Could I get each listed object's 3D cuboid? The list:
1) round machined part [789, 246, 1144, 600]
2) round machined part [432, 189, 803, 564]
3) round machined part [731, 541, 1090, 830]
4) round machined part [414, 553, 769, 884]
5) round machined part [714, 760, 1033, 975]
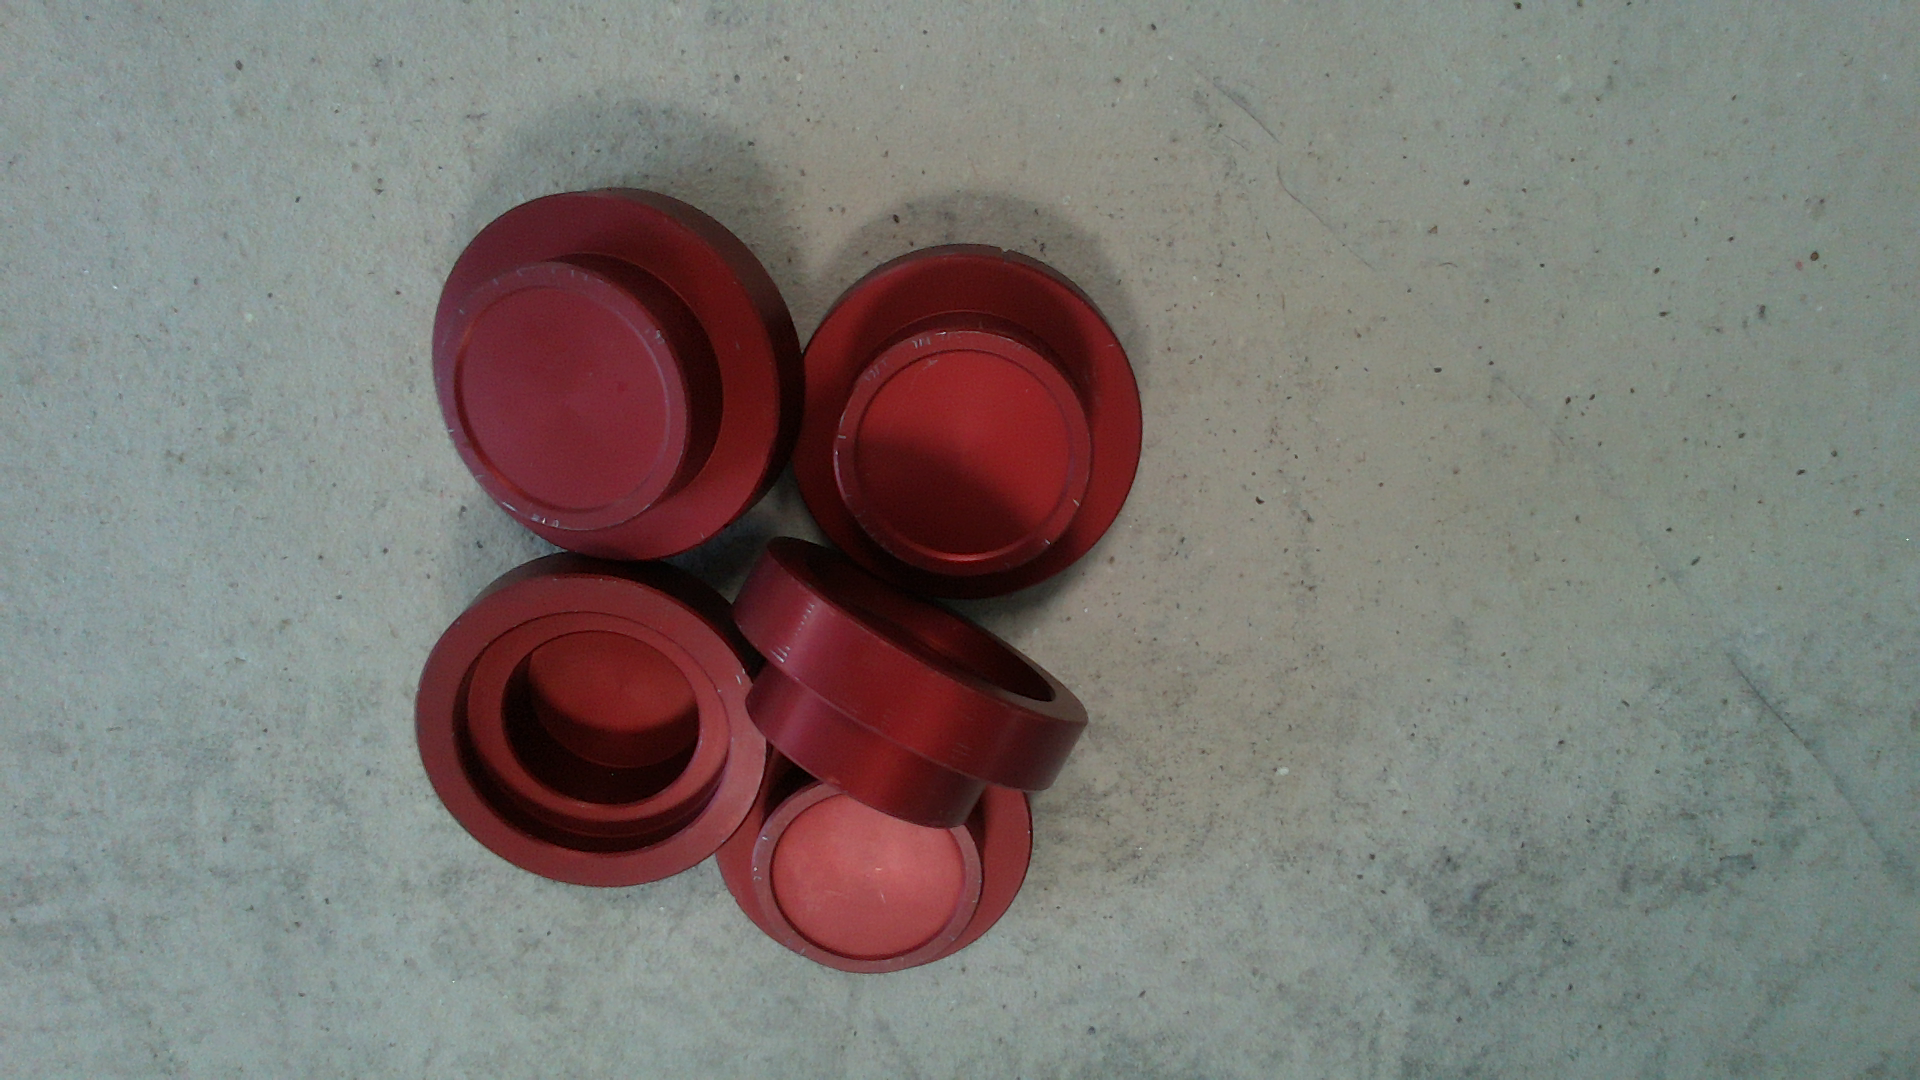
[{"bbox_3d":[0.001,-0.029,0.374,0.098,0.042,0.098,0,109,-1],"label":"round machined part"},{"bbox_3d":[-0.094,-0.040,0.358,0.098,0.042,0.098,4,109,13],"label":"round machined part"},{"bbox_3d":[-0.018,0.041,0.368,0.098,0.098,0.042,28,94,-10],"label":"round machined part"},{"bbox_3d":[-0.103,0.047,0.402,0.098,0.042,0.098,0,112,0],"label":"round machined part"},{"bbox_3d":[-0.027,0.091,0.418,0.098,0.042,0.098,0,109,-1],"label":"round machined part"}]
